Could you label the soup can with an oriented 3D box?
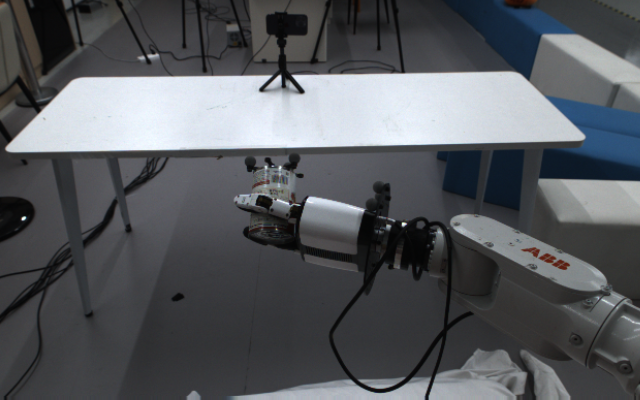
[{"bbox_3d":[-0.068,0.008,0.714,0.067,0.067,0.101,1,68,-1],"label":"soup can"}]
